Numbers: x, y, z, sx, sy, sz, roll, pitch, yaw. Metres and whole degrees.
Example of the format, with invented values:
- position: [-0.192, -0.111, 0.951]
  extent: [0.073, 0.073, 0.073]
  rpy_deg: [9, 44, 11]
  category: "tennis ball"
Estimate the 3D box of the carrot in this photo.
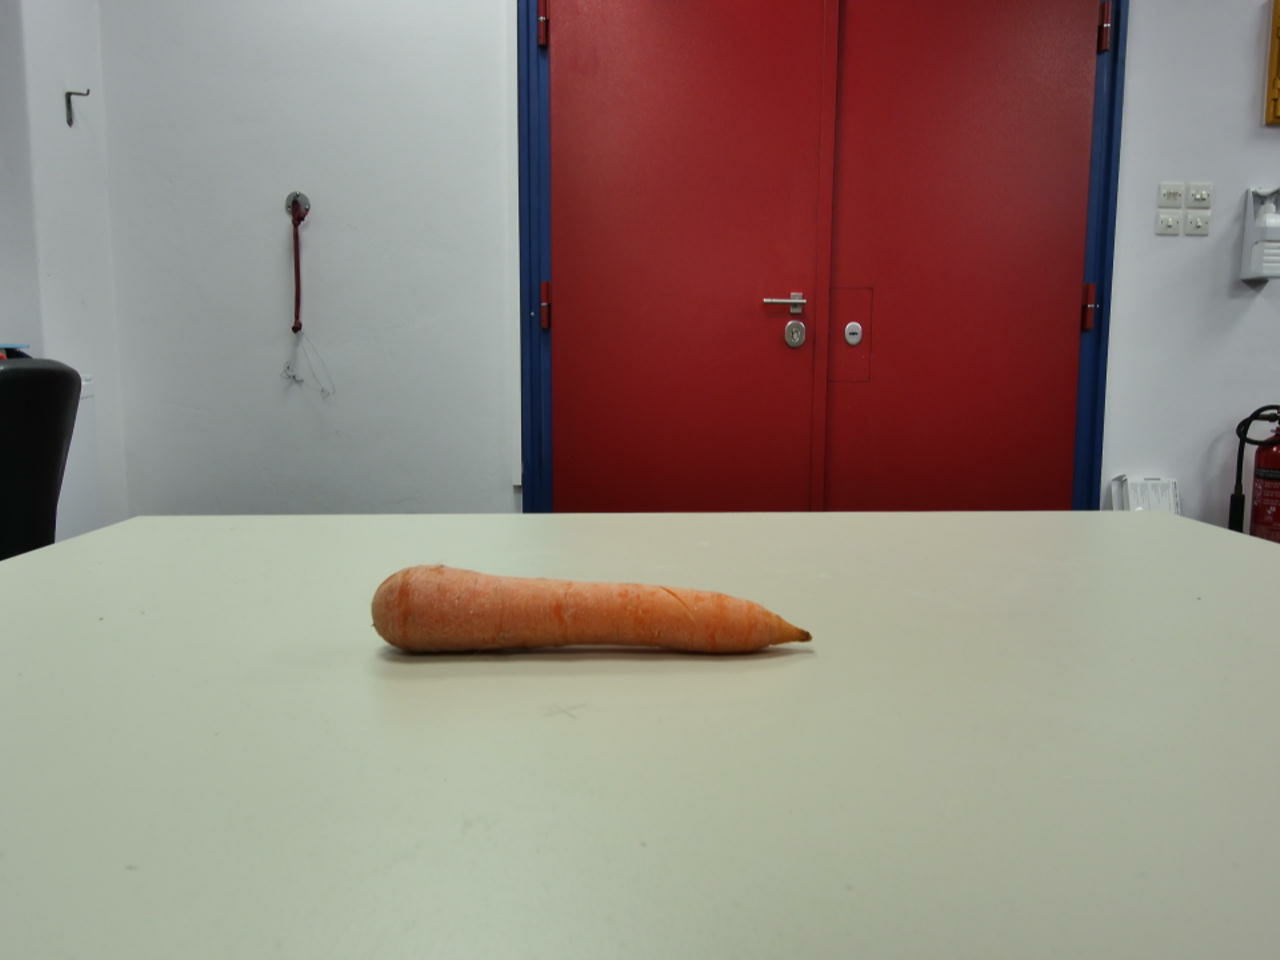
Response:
- position: [-0.021, 0.058, 0.450]
  extent: [0.196, 0.041, 0.039]
  rpy_deg: [-1, 5, -1]
  category: "carrot"
